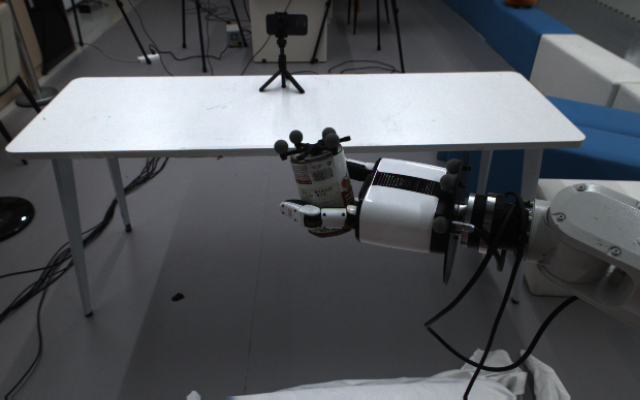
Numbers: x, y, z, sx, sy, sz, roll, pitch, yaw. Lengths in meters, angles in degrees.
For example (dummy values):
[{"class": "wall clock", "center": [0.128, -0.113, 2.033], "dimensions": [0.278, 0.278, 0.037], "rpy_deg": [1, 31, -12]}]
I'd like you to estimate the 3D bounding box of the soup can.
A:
[{"class": "soup can", "center": [0.009, -0.013, 0.603], "dimensions": [0.067, 0.101, 0.067], "rpy_deg": [-13, 20, 5]}]
